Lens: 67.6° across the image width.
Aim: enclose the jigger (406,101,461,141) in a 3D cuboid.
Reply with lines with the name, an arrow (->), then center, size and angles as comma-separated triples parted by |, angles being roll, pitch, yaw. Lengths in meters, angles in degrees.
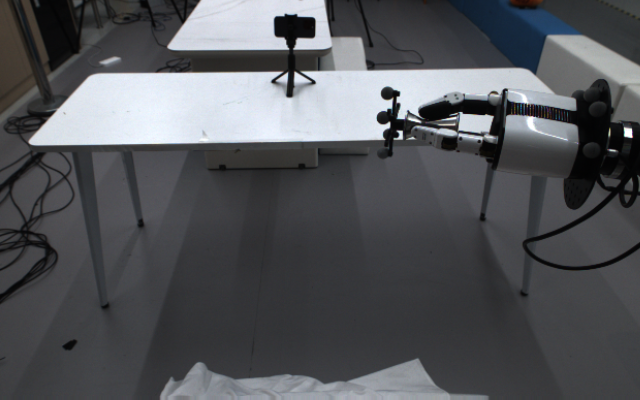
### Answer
jigger -> 0.153, -0.099, 0.640 | 0.071, 0.043, 0.043 | 8, 35, 16
